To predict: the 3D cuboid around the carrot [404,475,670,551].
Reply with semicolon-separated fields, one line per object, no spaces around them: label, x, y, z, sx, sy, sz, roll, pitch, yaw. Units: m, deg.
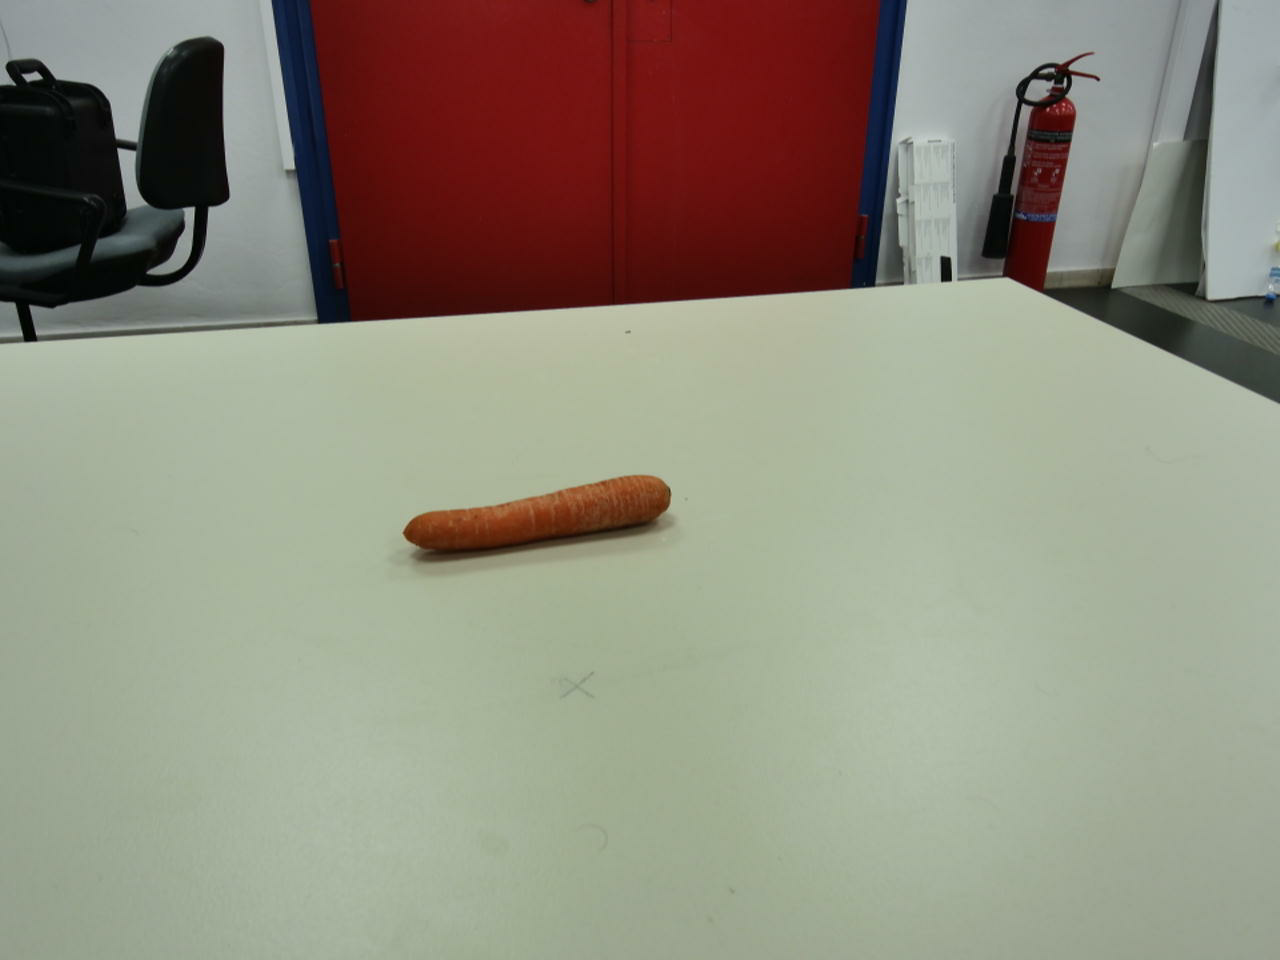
carrot;-0.044;0.015;0.451;0.122;0.023;0.024;-7;25;-15
